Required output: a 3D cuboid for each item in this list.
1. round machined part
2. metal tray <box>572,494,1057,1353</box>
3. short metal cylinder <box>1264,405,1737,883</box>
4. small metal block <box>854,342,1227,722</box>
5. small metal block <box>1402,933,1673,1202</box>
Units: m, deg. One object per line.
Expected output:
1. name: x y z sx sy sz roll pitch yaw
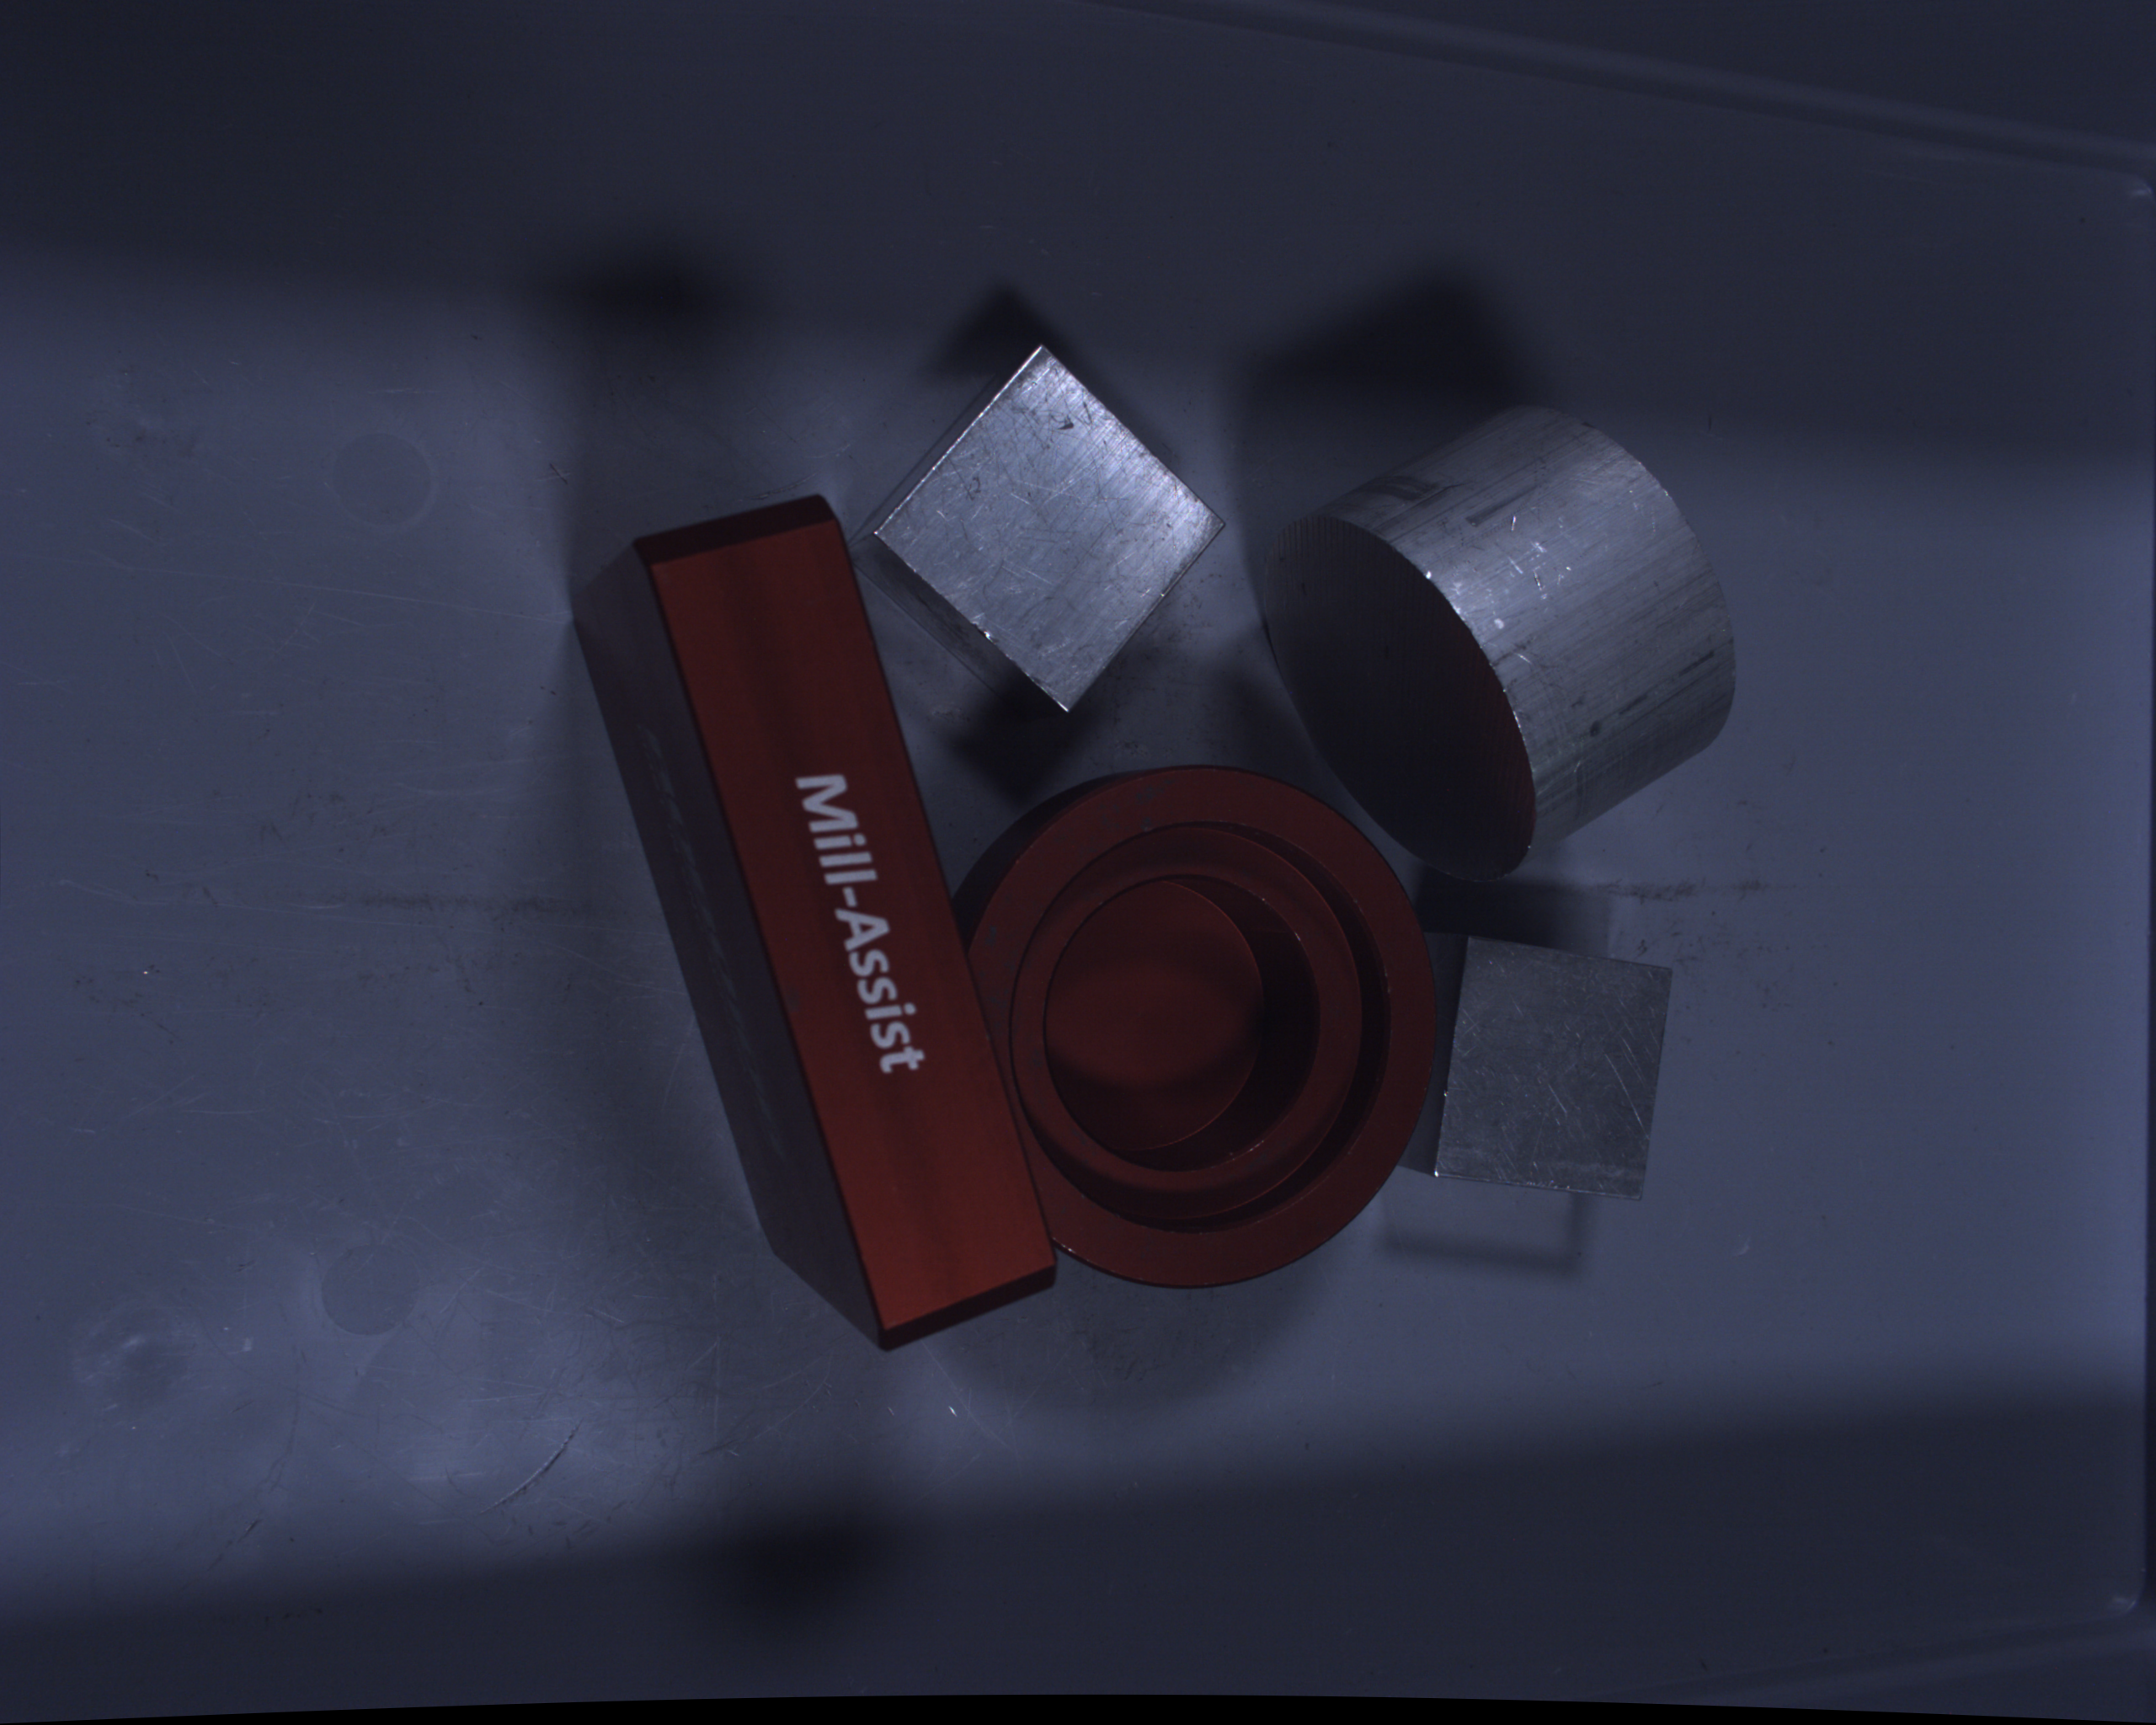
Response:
1. round machined part: 0.017 0.030 0.406 0.099 0.042 0.097 0 90 -21
2. metal tray: -0.048 0.009 0.357 0.030 0.090 0.129 -18 96 -19
3. short metal cylinder: 0.081 -0.043 0.411 0.050 0.080 0.080 -31 101 -18
4. small metal block: -0.009 -0.063 0.406 0.050 0.025 0.050 42 77 -14
5. small metal block: 0.095 0.043 0.445 0.050 0.025 0.050 10 86 -19
